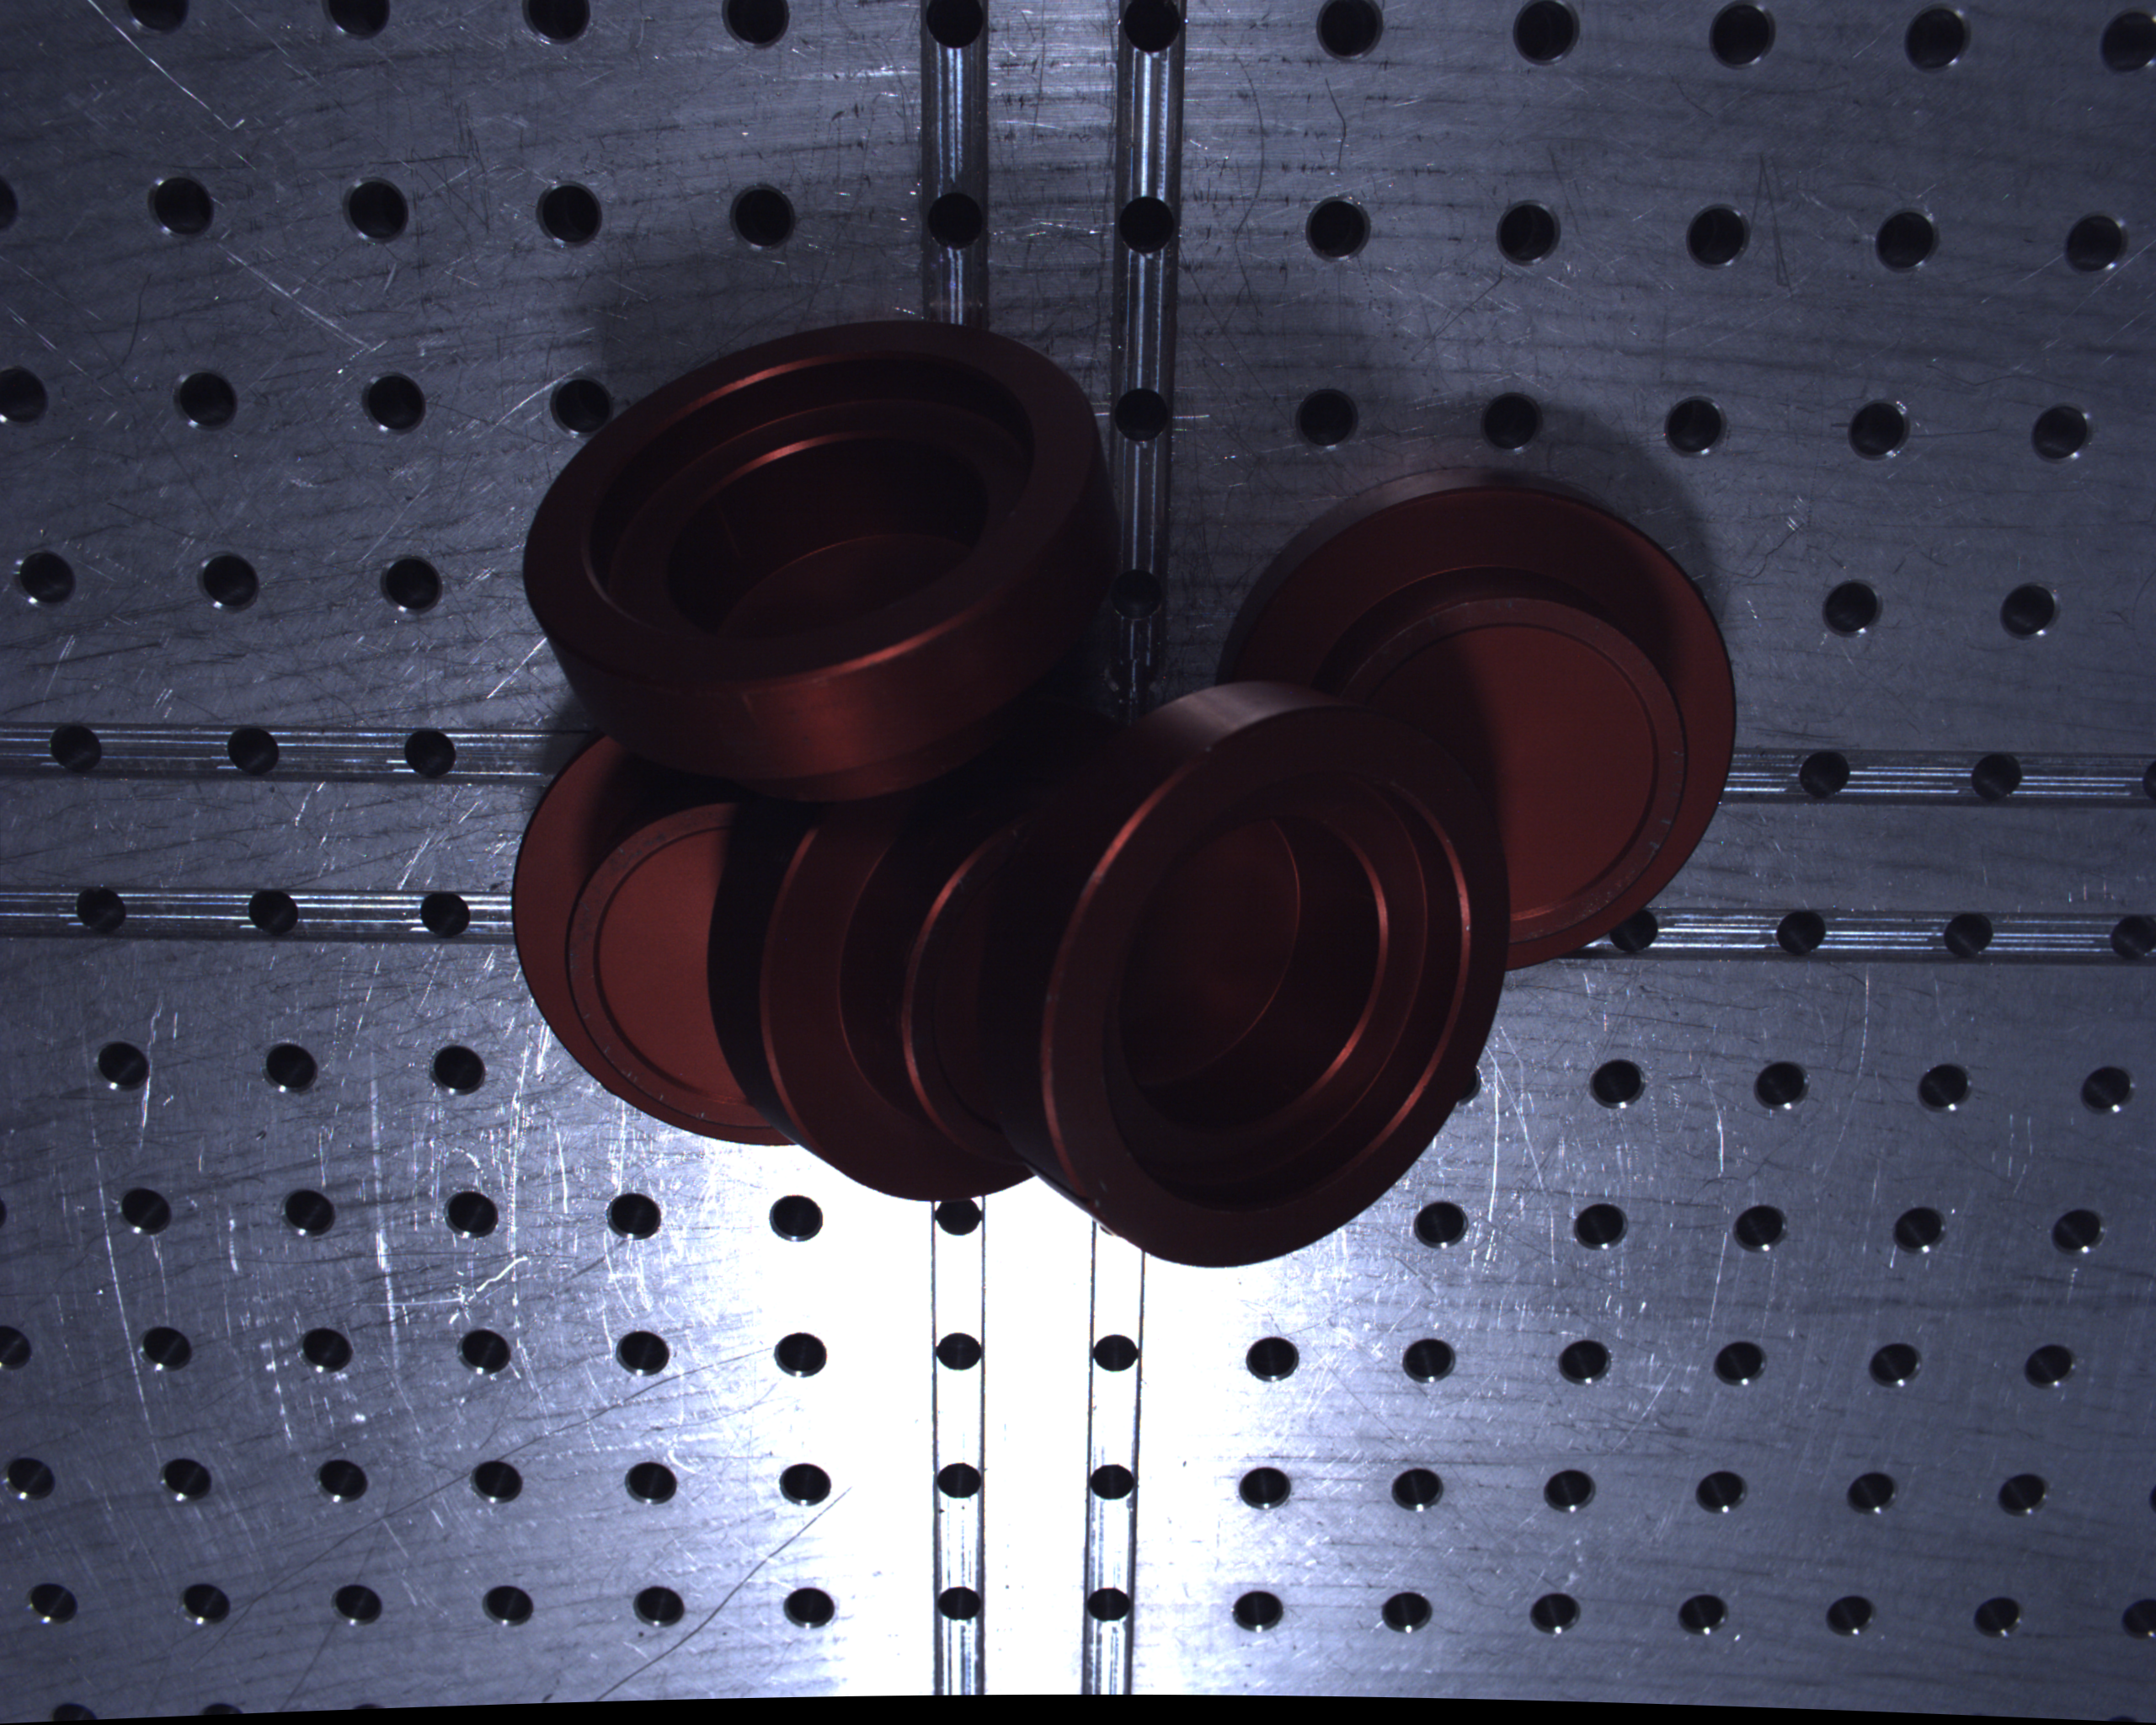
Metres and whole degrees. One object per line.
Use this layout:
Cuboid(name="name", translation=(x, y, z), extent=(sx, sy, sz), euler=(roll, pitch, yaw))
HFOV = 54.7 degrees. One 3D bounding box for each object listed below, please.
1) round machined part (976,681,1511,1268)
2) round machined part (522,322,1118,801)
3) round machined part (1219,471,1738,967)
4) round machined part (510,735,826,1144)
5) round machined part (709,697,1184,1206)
Cuboid(name="round machined part", translation=(0.024, 0.016, 0.359), extent=(0.099, 0.042, 0.097), euler=(-12, 112, -31))
Cuboid(name="round machined part", translation=(-0.041, -0.049, 0.361), extent=(0.099, 0.098, 0.042), euler=(-12, 135, 4))
Cuboid(name="round machined part", translation=(0.077, -0.023, 0.397), extent=(0.099, 0.042, 0.097), euler=(0, 110, -1))
Cuboid(name="round machined part", translation=(-0.062, 0.012, 0.408), extent=(0.099, 0.042, 0.097), euler=(0, 110, -1))
Cuboid(name="round machined part", translation=(-0.014, 0.018, 0.385), extent=(0.099, 0.042, 0.097), euler=(-12, 110, -36))
